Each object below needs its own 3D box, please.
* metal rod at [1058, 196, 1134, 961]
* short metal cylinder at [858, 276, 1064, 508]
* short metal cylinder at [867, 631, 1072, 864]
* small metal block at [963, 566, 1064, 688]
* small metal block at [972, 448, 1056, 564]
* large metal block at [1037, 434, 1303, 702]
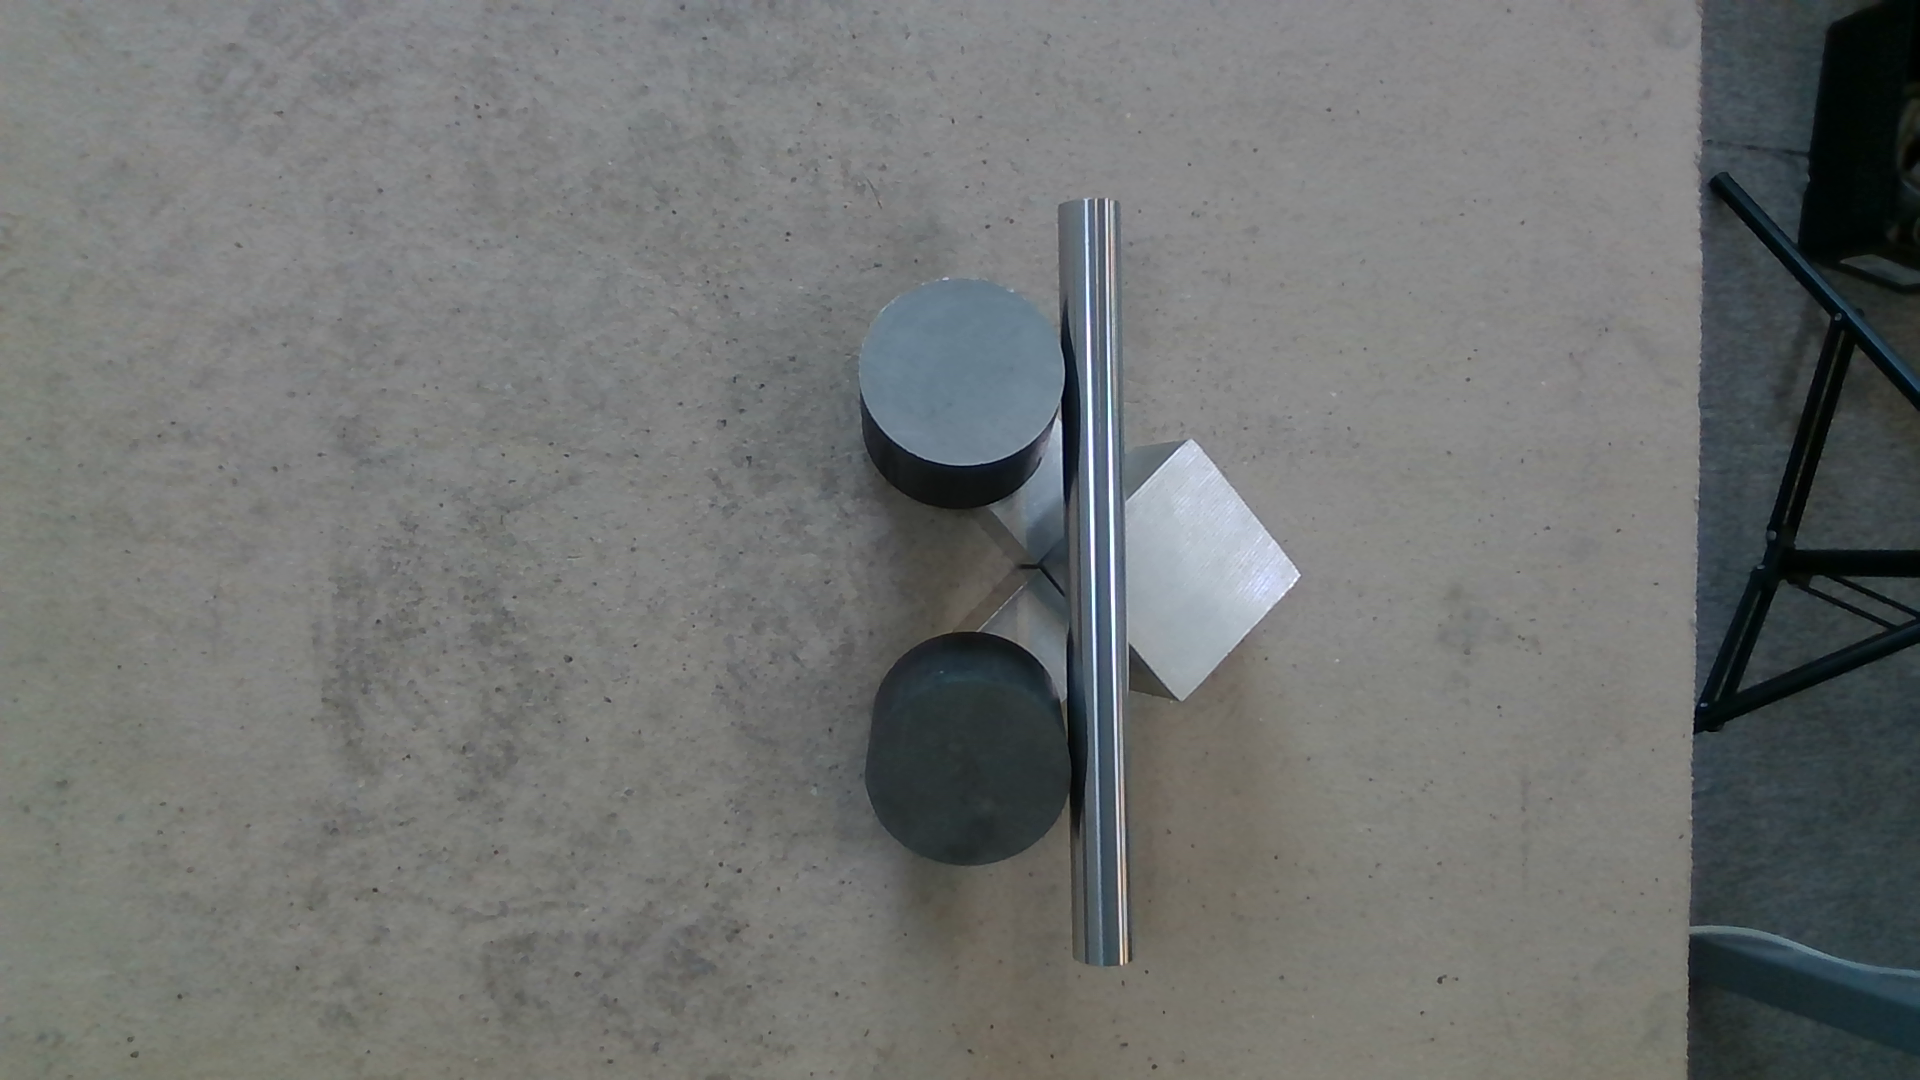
[{"bbox_3d":[0.054,0.016,0.552,0.025,0.025,0.300,-2,91,-20],"label":"metal rod"},{"bbox_3d":[-0.001,-0.059,0.557,0.080,0.050,0.080,1,72,-3],"label":"short metal cylinder"},{"bbox_3d":[0.003,0.083,0.560,0.080,0.050,0.080,0,108,-1],"label":"short metal cylinder"},{"bbox_3d":[0.028,0.047,0.597,0.050,0.025,0.050,-45,104,-14],"label":"small metal block"},{"bbox_3d":[0.030,-0.025,0.598,0.050,0.025,0.050,-45,105,-14],"label":"small metal block"},{"bbox_3d":[0.088,0.012,0.604,0.080,0.050,0.080,-44,104,-15],"label":"large metal block"}]
